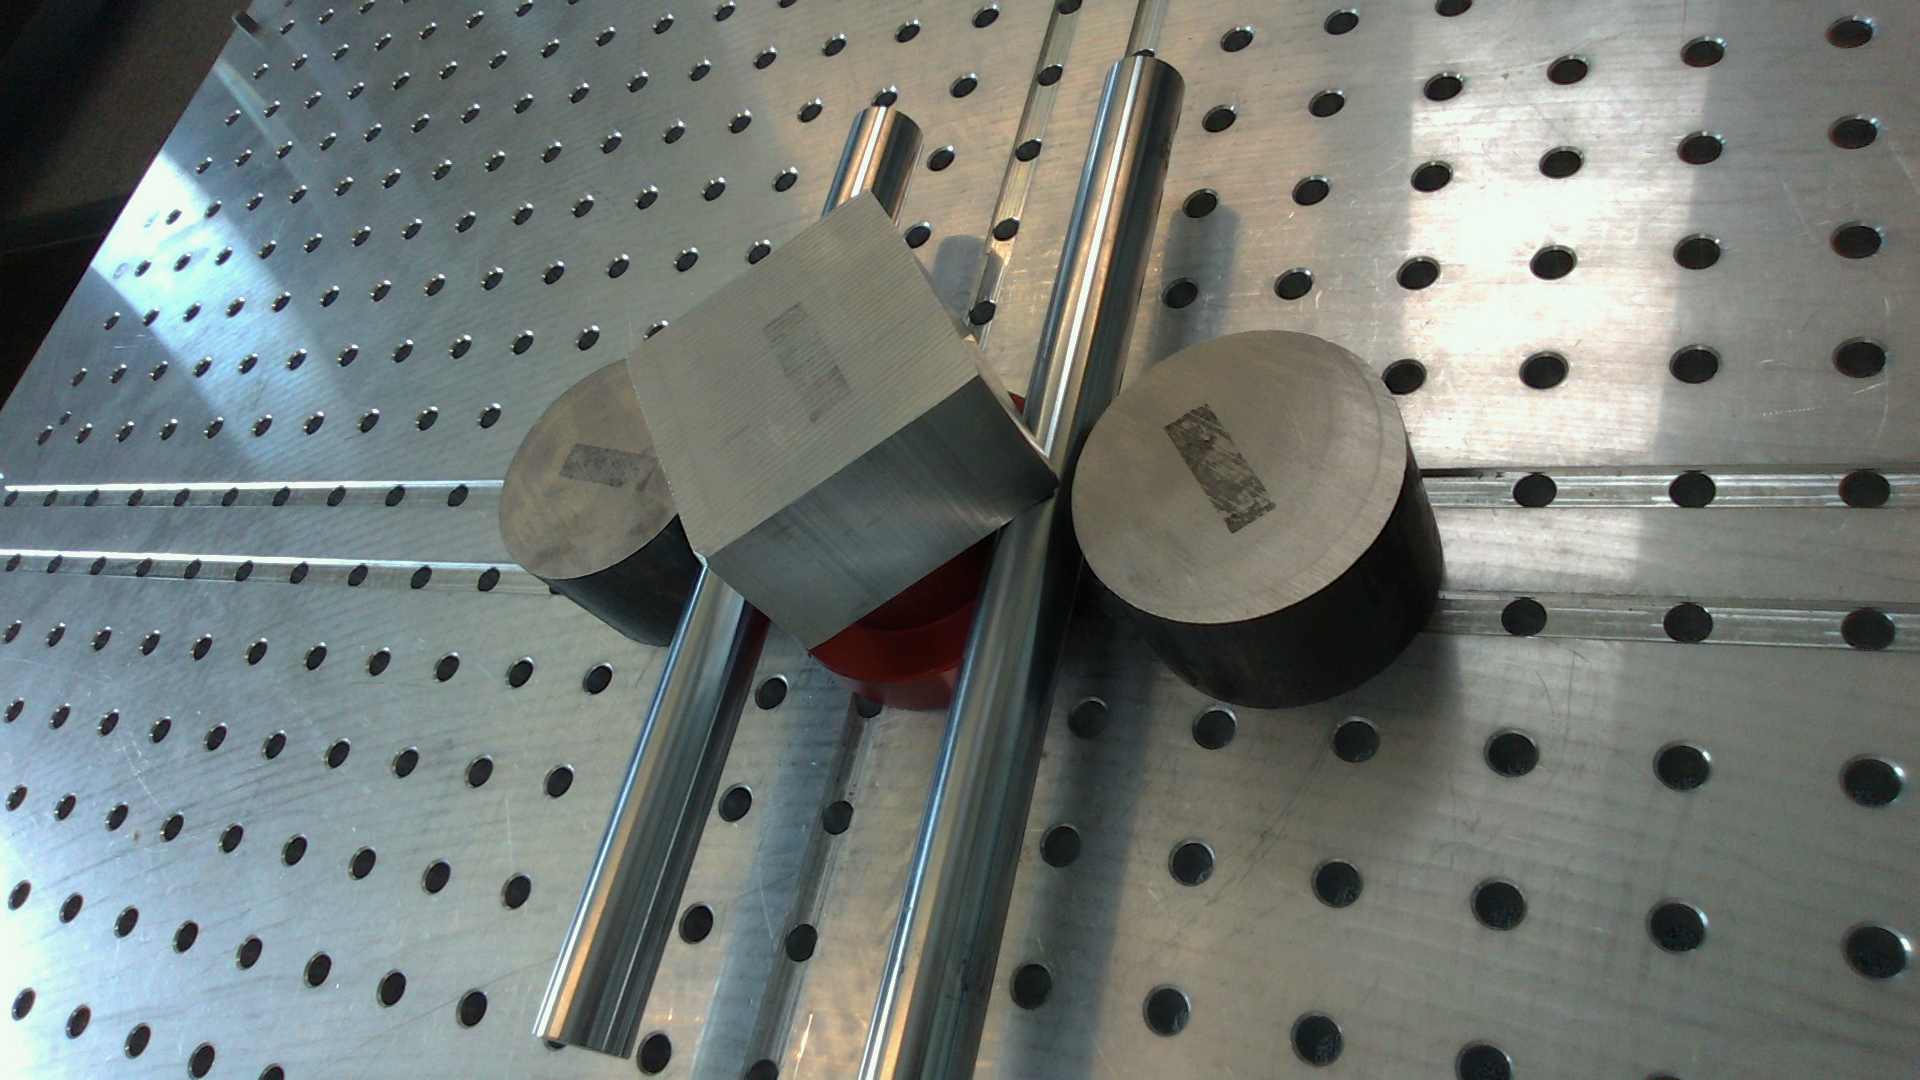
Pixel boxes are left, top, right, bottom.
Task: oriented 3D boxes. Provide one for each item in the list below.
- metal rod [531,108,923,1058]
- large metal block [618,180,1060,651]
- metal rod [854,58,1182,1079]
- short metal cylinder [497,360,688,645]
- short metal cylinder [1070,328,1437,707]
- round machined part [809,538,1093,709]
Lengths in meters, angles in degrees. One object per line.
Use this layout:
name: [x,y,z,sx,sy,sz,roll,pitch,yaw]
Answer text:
metal rod: [-0.060,-0.006,0.406,0.025,0.025,0.300,0,62,29]
large metal block: [-0.033,-0.032,0.357,0.080,0.050,0.080,-33,51,7]
metal rod: [0.022,-0.007,0.362,0.025,0.025,0.300,0,61,29]
short metal cylinder: [-0.099,-0.013,0.442,0.080,0.050,0.080,-13,56,21]
short metal cylinder: [0.074,-0.005,0.343,0.080,0.050,0.080,-13,56,21]
round machined part: [-0.012,-0.005,0.396,0.098,0.042,0.098,-13,56,21]
